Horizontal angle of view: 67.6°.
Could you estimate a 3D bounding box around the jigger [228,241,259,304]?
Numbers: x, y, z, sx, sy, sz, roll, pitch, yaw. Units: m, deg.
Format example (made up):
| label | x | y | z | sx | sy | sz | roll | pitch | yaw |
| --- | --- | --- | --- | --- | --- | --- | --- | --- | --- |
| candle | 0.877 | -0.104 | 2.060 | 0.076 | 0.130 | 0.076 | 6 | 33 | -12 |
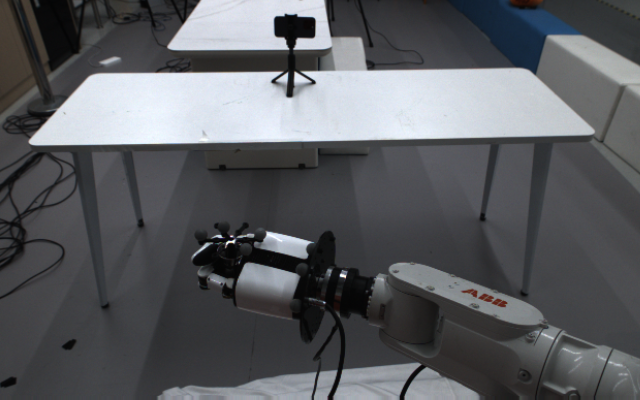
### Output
| label | x | y | z | sx | sy | sz | roll | pitch | yaw |
| --- | --- | --- | --- | --- | --- | --- | --- | --- | --- |
| jigger | -0.124 | 0.098 | 0.706 | 0.043 | 0.071 | 0.043 | 4 | 31 | -2 |
